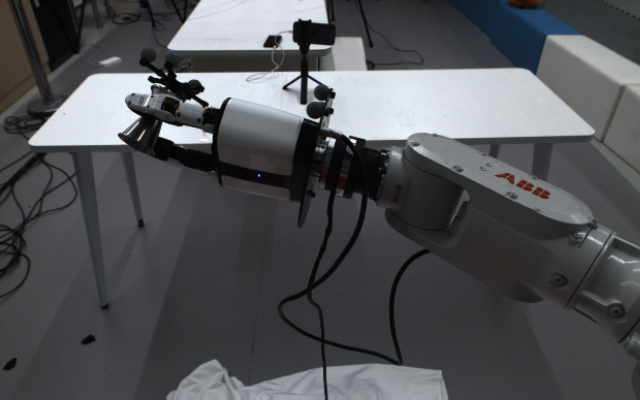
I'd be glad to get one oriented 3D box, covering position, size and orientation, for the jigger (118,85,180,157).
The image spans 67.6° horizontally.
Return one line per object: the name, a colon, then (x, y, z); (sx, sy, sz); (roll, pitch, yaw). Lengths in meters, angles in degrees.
jigger: (-0.187, -0.090, 0.539); (0.043, 0.043, 0.071); (20, 73, 23)
